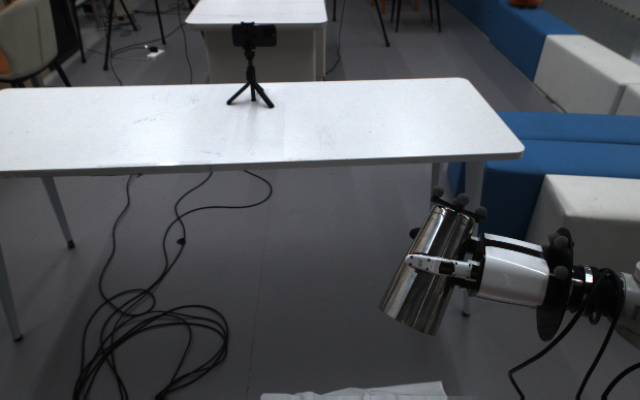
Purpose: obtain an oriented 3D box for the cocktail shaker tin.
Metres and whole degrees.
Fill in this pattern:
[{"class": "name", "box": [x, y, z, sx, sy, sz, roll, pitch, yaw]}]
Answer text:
[{"class": "cocktail shaker tin", "box": [0.163, 0.094, 0.703, 0.093, 0.170, 0.093, 23, 0, 0]}]
